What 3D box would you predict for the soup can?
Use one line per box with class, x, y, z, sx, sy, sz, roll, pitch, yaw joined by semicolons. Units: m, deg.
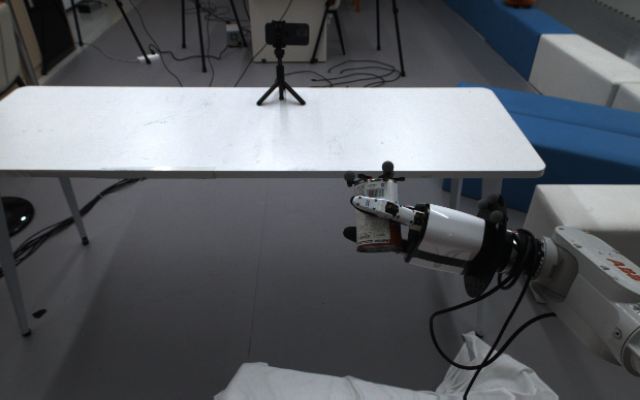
soup can;0.088;0.024;0.723;0.067;0.067;0.101;-2;76;-6
